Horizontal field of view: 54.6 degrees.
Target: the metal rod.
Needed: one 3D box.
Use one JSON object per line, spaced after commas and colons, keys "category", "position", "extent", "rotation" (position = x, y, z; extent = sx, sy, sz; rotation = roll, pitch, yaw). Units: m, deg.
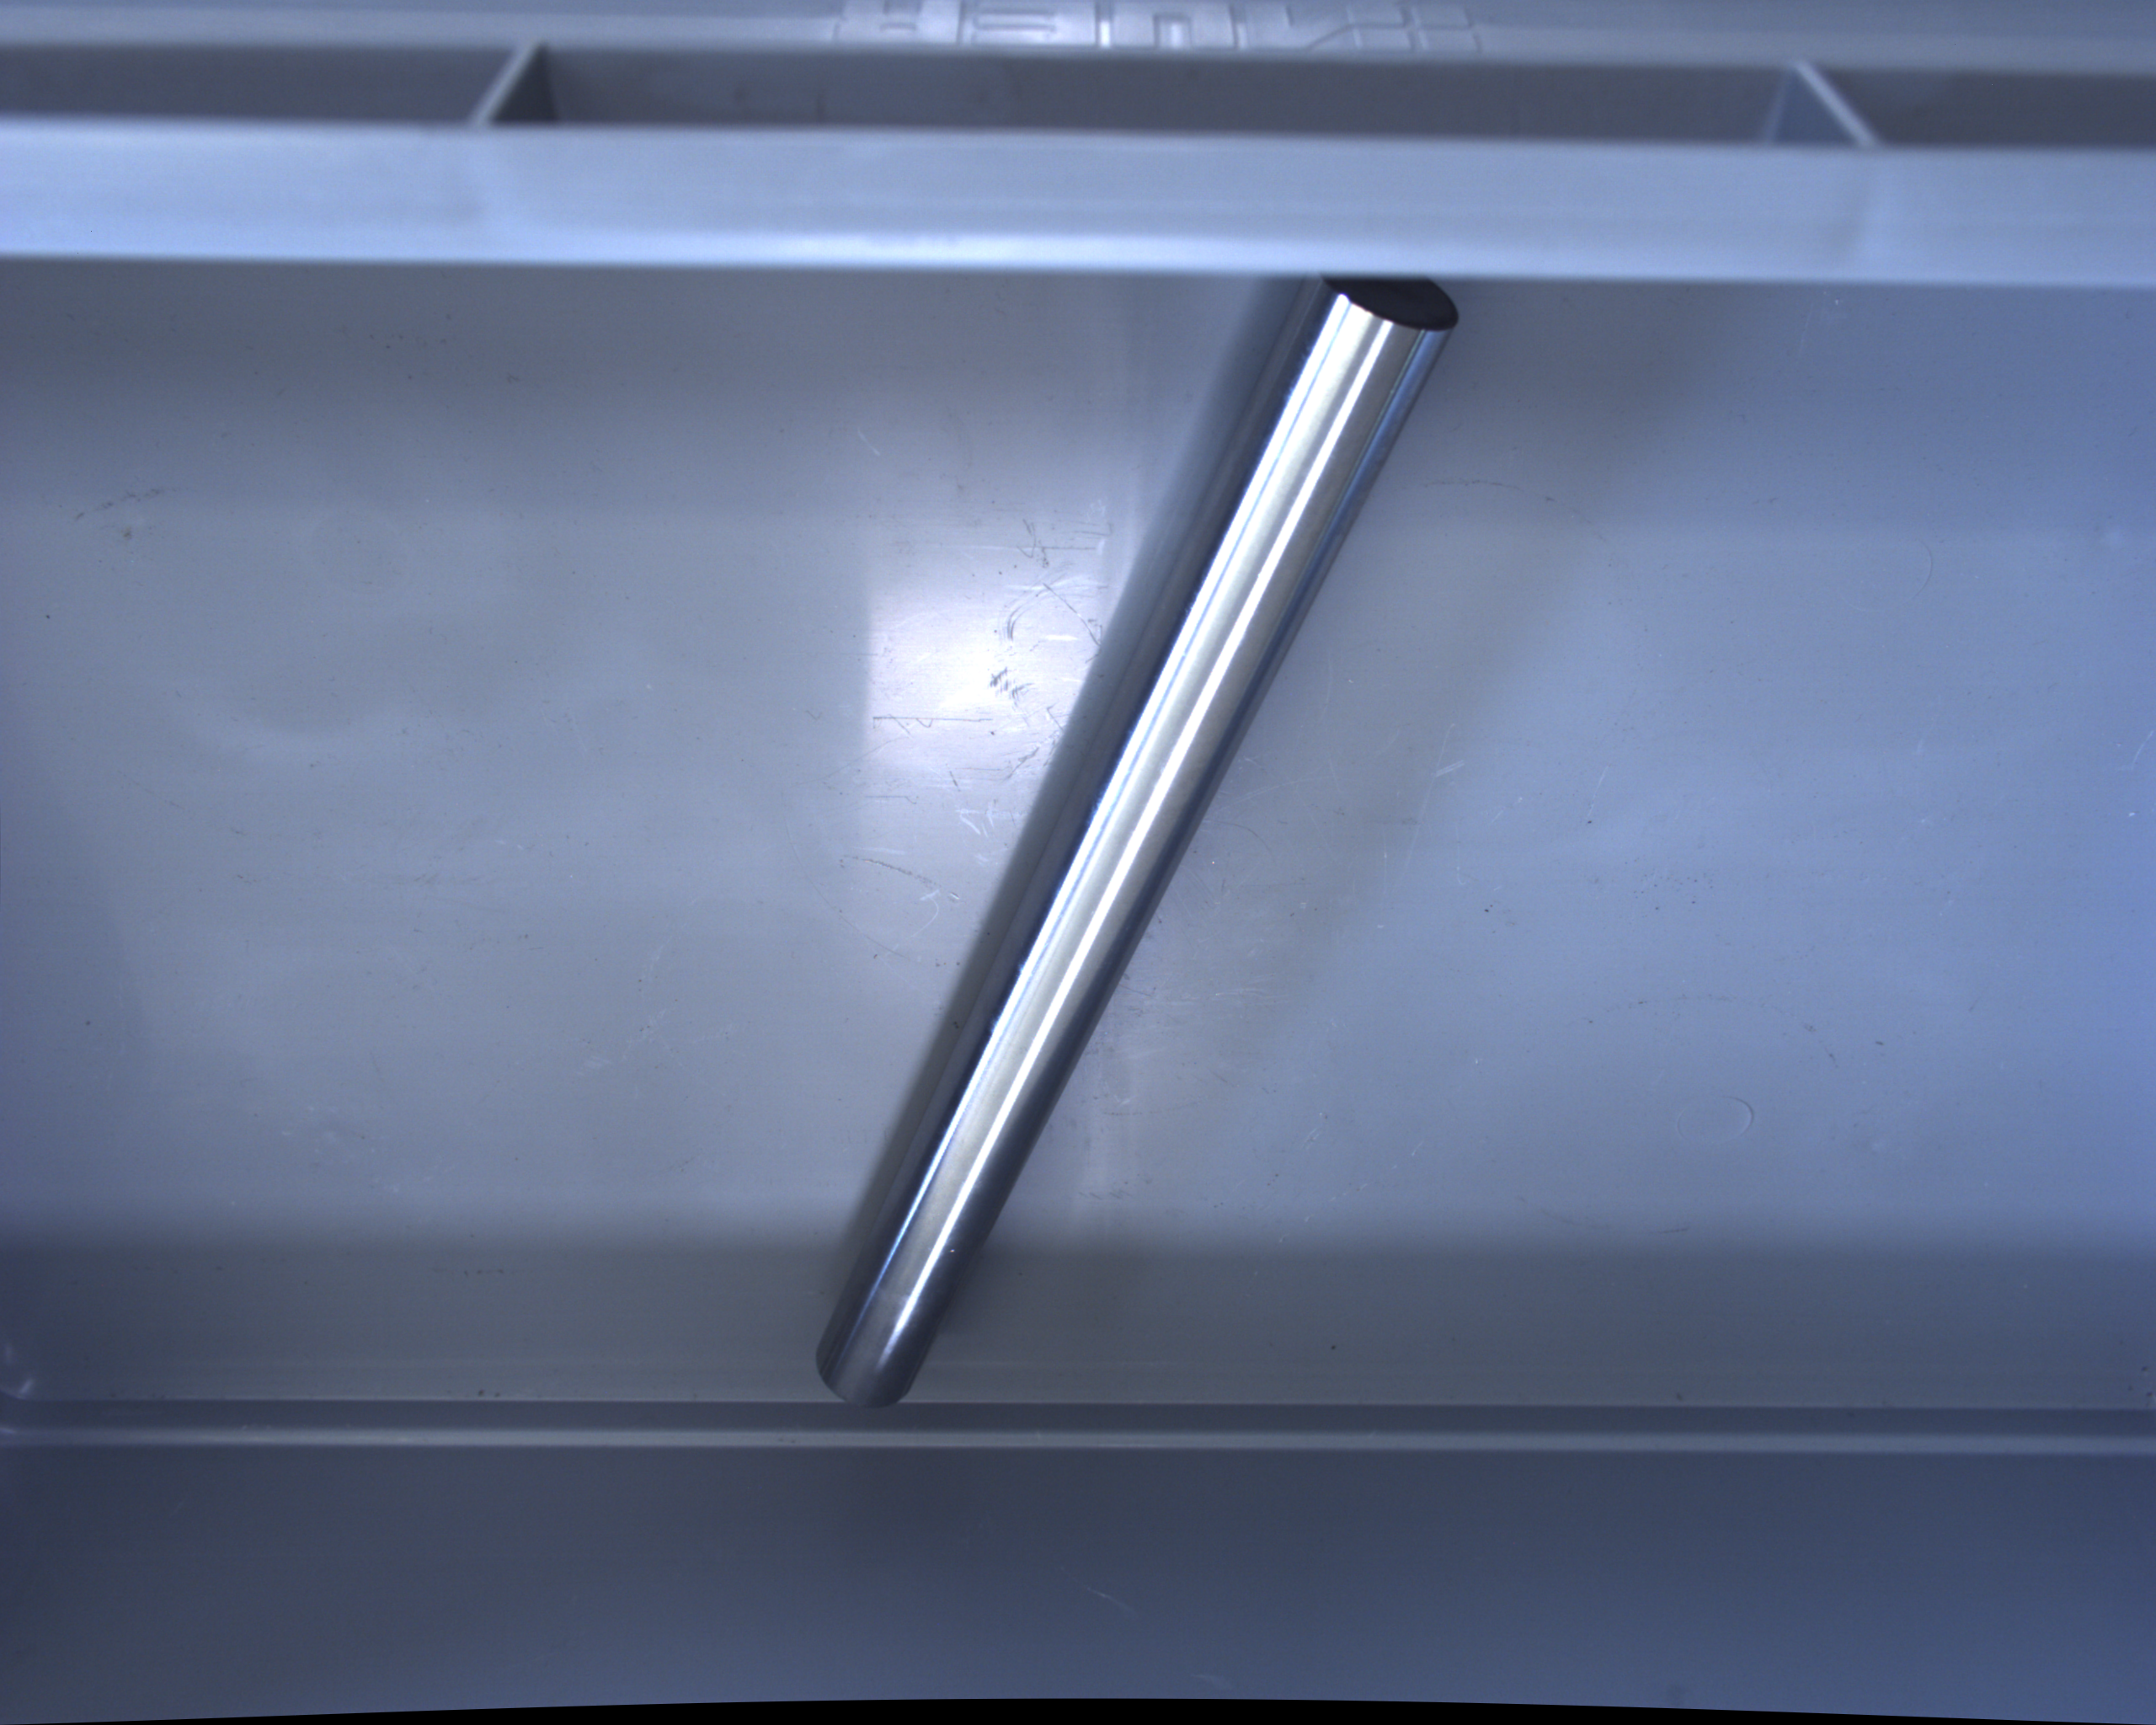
{"category": "metal rod", "position": [-0.002, 0.016, 0.419], "extent": [0.025, 0.025, 0.298], "rotation": [15, 129, -13]}
